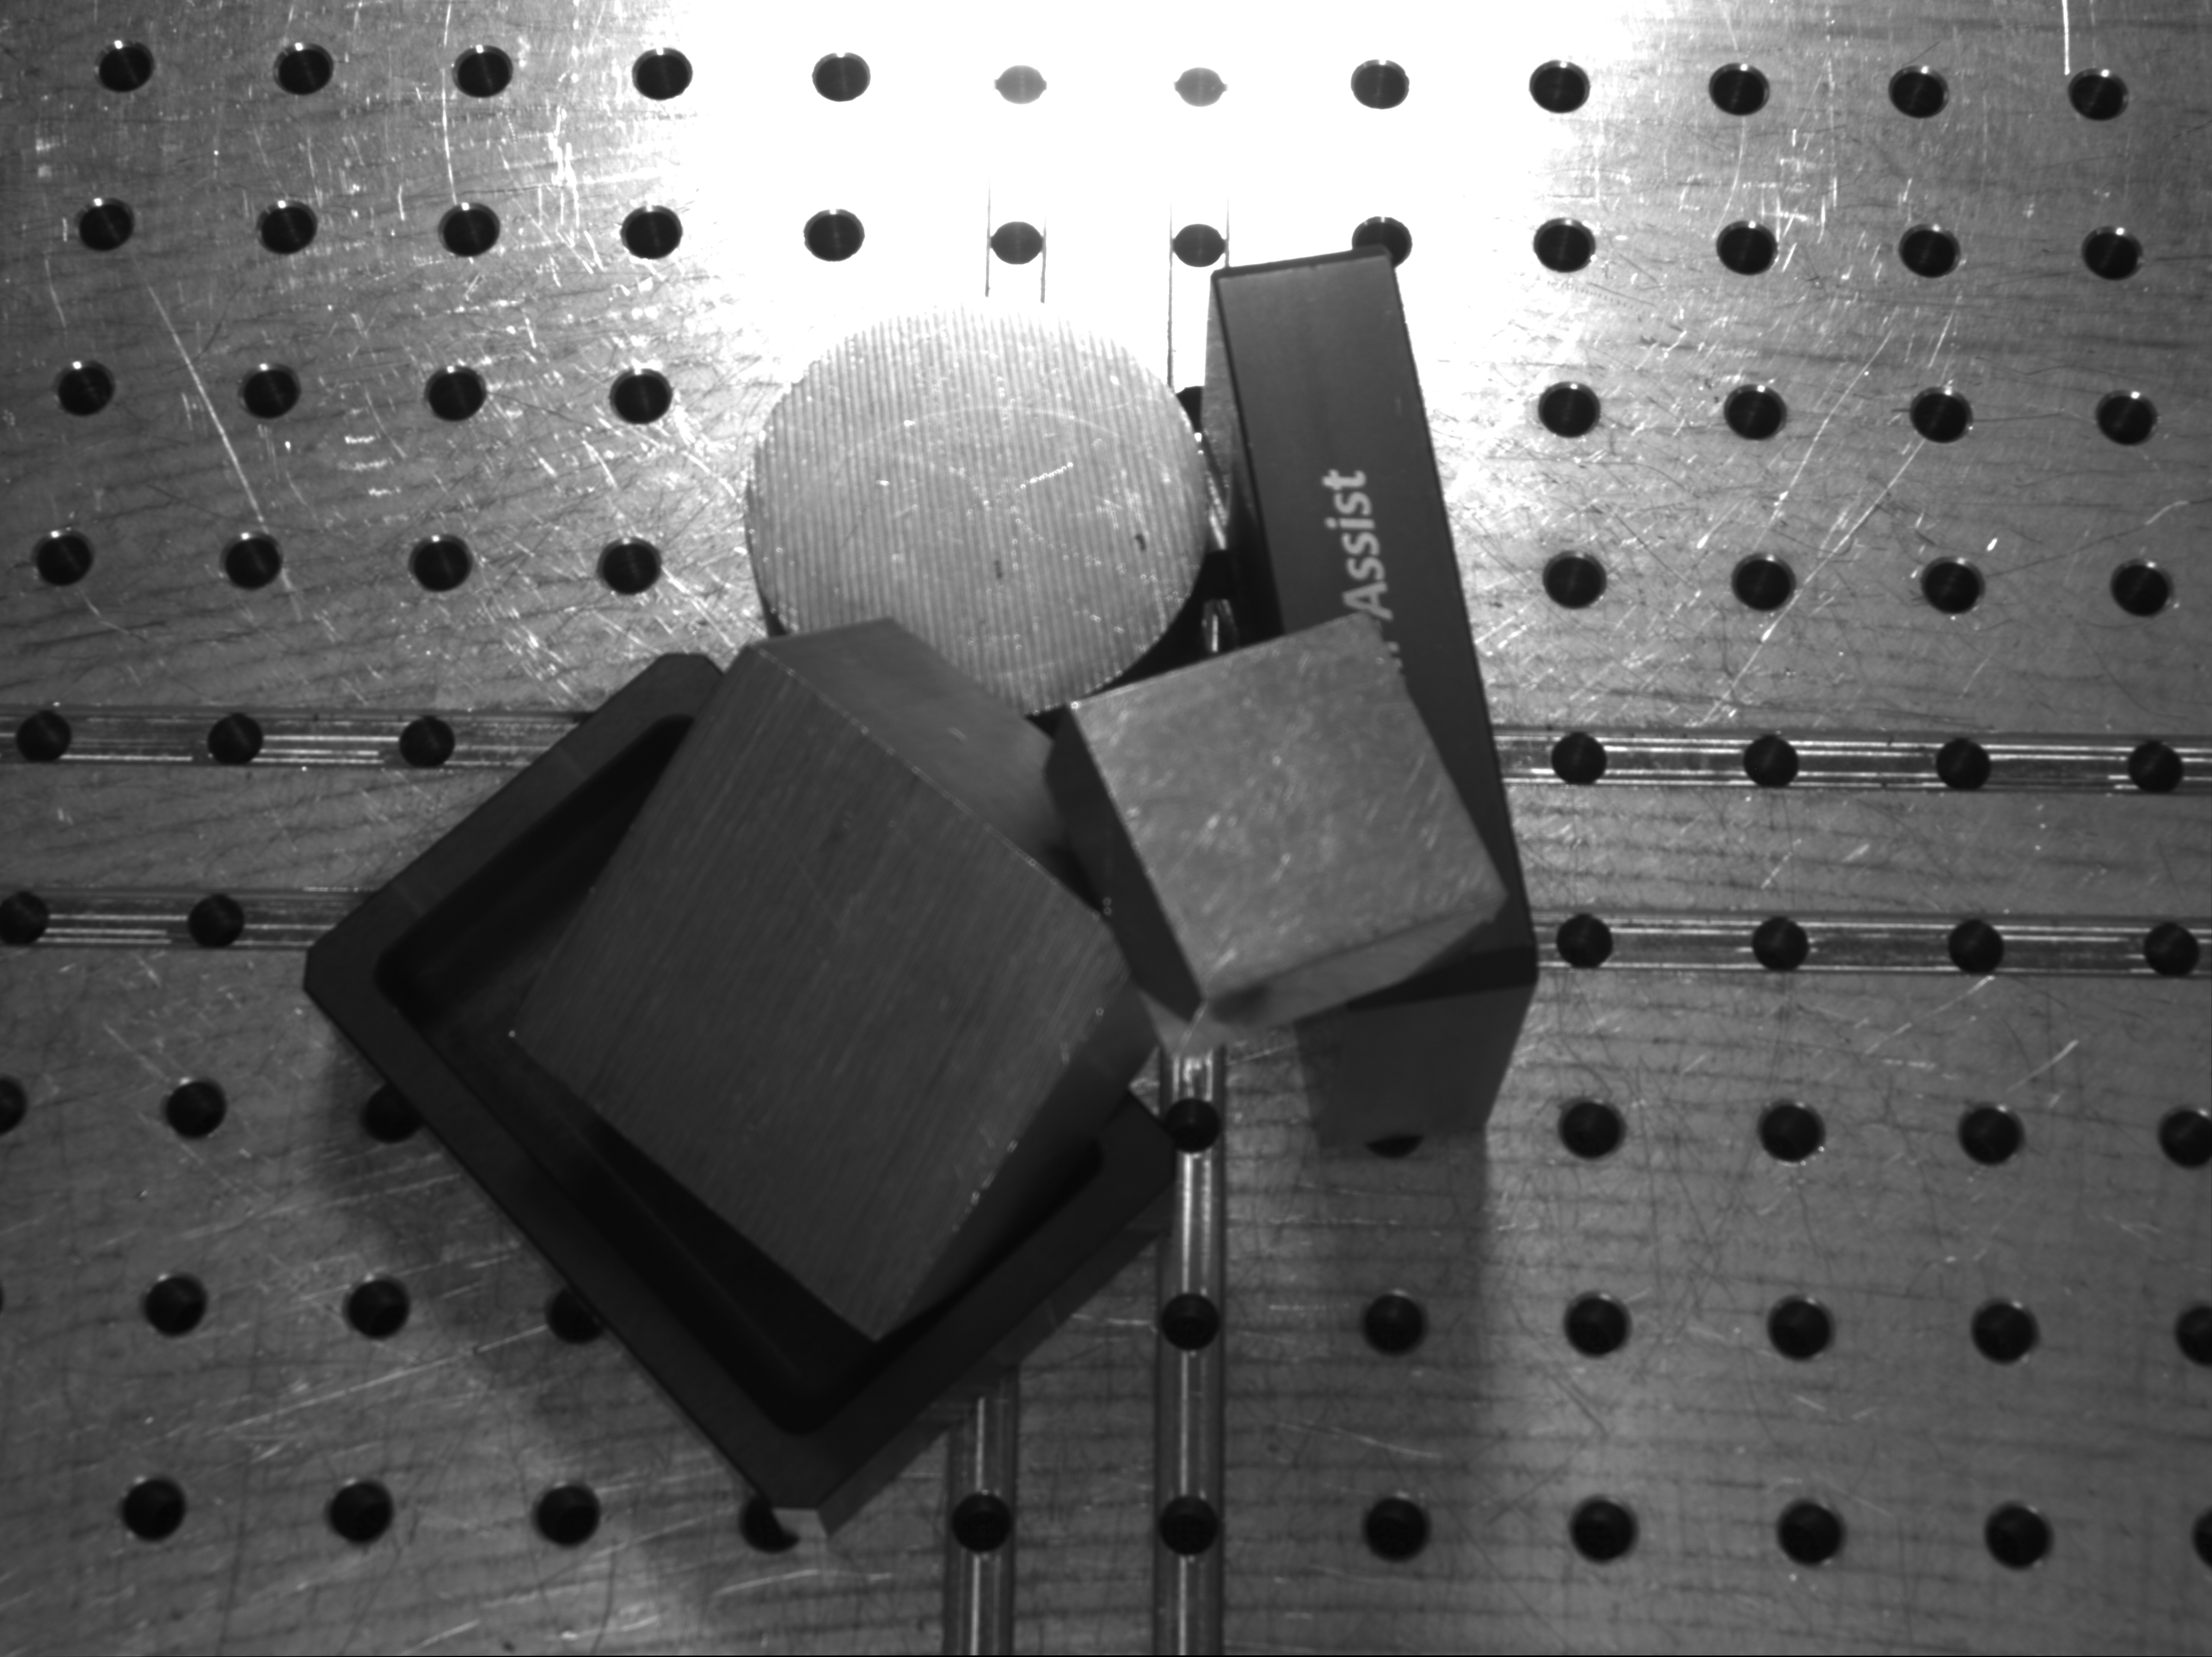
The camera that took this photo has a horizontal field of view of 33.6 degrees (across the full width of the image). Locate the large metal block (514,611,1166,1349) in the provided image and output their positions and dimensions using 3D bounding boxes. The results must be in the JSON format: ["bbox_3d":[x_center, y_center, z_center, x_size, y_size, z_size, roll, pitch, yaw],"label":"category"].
[{"bbox_3d":[-0.035,0.023,0.592,0.080,0.050,0.080,38,110,12],"label":"large metal block"}]

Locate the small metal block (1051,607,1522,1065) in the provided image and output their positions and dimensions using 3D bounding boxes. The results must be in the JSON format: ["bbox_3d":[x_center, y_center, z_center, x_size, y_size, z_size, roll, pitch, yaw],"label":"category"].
[{"bbox_3d":[0.026,0.001,0.547,0.050,0.025,0.050,-18,71,-18],"label":"small metal block"}]

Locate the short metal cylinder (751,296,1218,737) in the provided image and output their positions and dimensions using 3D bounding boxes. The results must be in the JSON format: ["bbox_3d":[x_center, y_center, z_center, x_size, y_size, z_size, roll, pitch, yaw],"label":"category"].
[{"bbox_3d":[-0.021,-0.047,0.651,0.080,0.050,0.080,0,70,0],"label":"short metal cylinder"}]

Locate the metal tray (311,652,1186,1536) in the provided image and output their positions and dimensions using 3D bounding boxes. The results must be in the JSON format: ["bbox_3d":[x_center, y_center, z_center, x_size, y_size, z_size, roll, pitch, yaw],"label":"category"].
[{"bbox_3d":[-0.060,0.044,0.627,0.090,0.030,0.130,-41,75,-14],"label":"metal tray"}]

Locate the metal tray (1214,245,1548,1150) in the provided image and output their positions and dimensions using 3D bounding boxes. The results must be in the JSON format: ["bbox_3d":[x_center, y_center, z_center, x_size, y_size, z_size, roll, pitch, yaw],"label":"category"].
[{"bbox_3d":[0.043,-0.020,0.620,0.030,0.090,0.130,-8,70,-3],"label":"metal tray"}]
